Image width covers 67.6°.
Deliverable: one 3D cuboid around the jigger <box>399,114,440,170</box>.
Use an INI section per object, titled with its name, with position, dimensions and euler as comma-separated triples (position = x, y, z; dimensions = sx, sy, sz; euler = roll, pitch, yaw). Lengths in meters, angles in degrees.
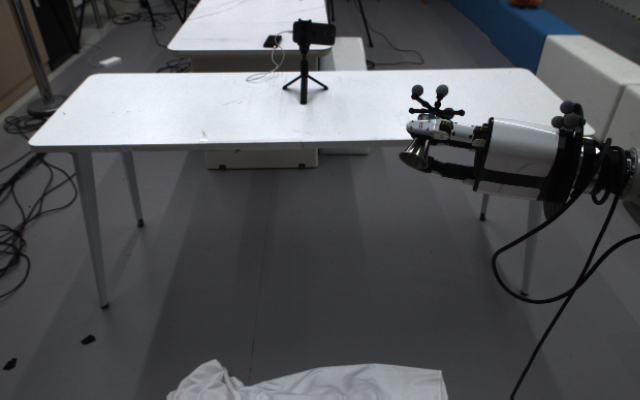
[jigger]
position = 0.144, -0.087, 0.684
dimensions = 0.043, 0.043, 0.071
euler = 20, 73, 24
